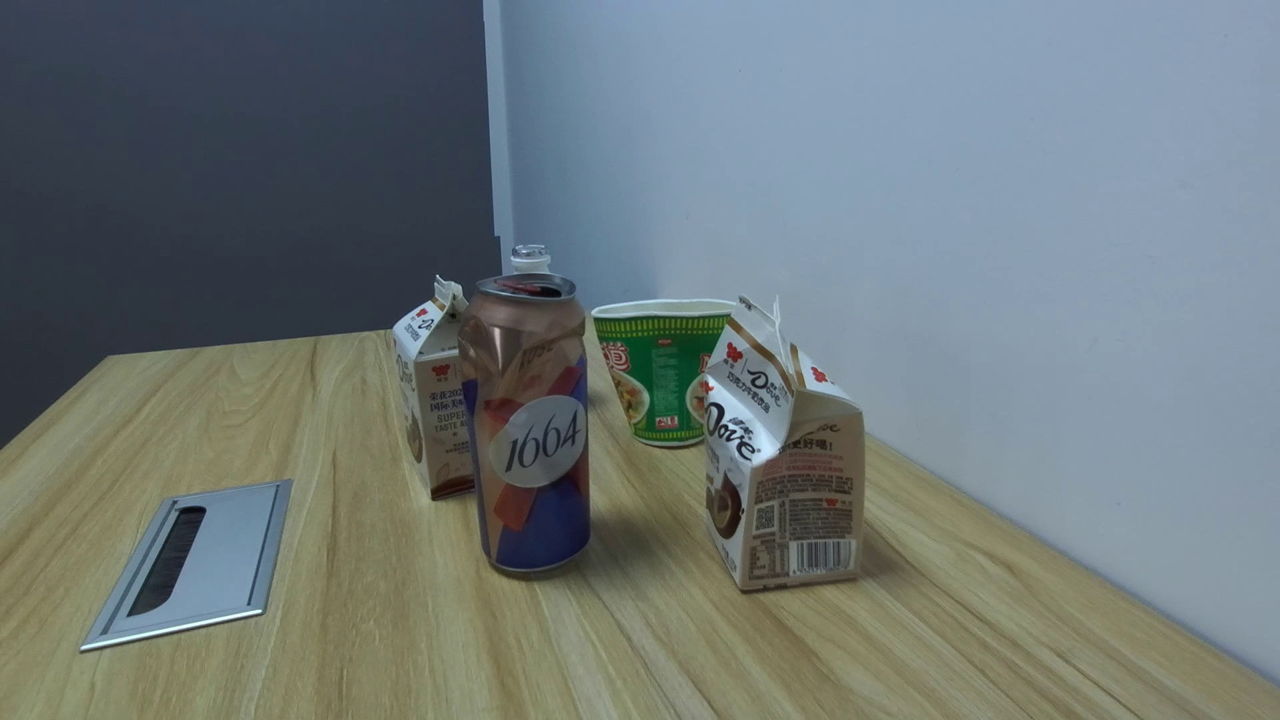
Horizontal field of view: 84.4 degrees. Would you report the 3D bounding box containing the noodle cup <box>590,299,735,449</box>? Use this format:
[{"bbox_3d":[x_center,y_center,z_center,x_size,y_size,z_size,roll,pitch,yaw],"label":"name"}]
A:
[{"bbox_3d":[0.024,0.008,0.576,0.115,0.111,0.070,5,20,17],"label":"noodle cup"}]

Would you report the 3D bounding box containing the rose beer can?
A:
[{"bbox_3d":[-0.062,0.038,0.407,0.076,0.167,0.065,-13,25,-38],"label":"rose beer can"}]

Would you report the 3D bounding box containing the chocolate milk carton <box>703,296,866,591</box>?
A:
[{"bbox_3d":[0.081,0.043,0.403,0.074,0.155,0.076,-6,21,-8],"label":"chocolate milk carton"}]
